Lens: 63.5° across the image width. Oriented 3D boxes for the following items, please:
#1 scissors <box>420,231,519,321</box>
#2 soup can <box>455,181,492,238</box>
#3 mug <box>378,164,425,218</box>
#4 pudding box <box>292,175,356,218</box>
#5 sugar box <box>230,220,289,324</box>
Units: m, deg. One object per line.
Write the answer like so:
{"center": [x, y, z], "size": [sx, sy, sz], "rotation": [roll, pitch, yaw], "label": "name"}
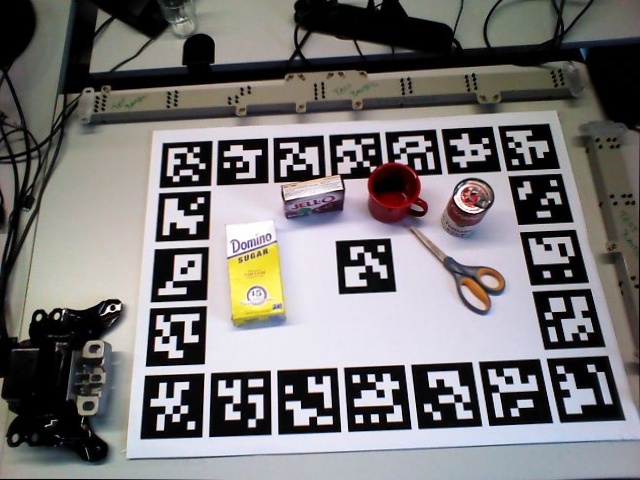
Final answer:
{"center": [0.256, 0.049, 0.913], "size": [0.087, 0.016, 0.203], "rotation": [-45, 76, -4], "label": "scissors"}
{"center": [0.274, -0.053, 0.913], "size": [0.068, 0.102, 0.067], "rotation": [-1, 69, 2], "label": "soup can"}
{"center": [0.157, -0.084, 0.930], "size": [0.093, 0.081, 0.117], "rotation": [-38, 72, -9], "label": "mug"}
{"center": [0.008, -0.080, 0.924], "size": [0.114, 0.090, 0.038], "rotation": [-11, 77, -3], "label": "pudding box"}
{"center": [-0.107, 0.054, 0.910], "size": [0.093, 0.045, 0.175], "rotation": [-6, 72, 1], "label": "sugar box"}
